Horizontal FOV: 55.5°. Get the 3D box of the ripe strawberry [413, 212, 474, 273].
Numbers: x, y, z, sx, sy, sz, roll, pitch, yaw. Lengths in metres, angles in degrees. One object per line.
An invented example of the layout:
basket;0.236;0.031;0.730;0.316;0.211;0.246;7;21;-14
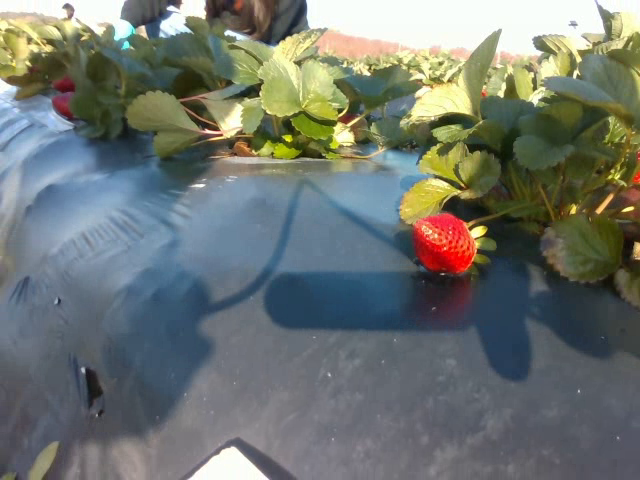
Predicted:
ripe strawberry;0.047;0.000;0.240;0.028;0.031;0.041;-7;-23;33
